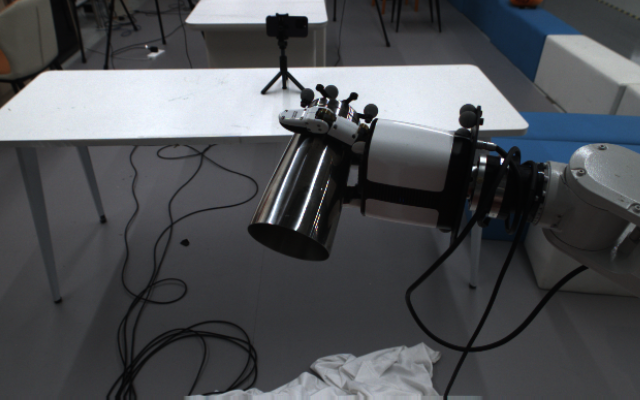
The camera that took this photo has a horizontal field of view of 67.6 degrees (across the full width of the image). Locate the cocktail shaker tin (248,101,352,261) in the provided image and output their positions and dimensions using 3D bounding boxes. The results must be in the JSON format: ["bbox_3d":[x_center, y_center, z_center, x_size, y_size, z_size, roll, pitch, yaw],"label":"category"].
[{"bbox_3d":[-0.005,-0.031,0.542,0.093,0.093,0.170,12,65,14],"label":"cocktail shaker tin"}]
